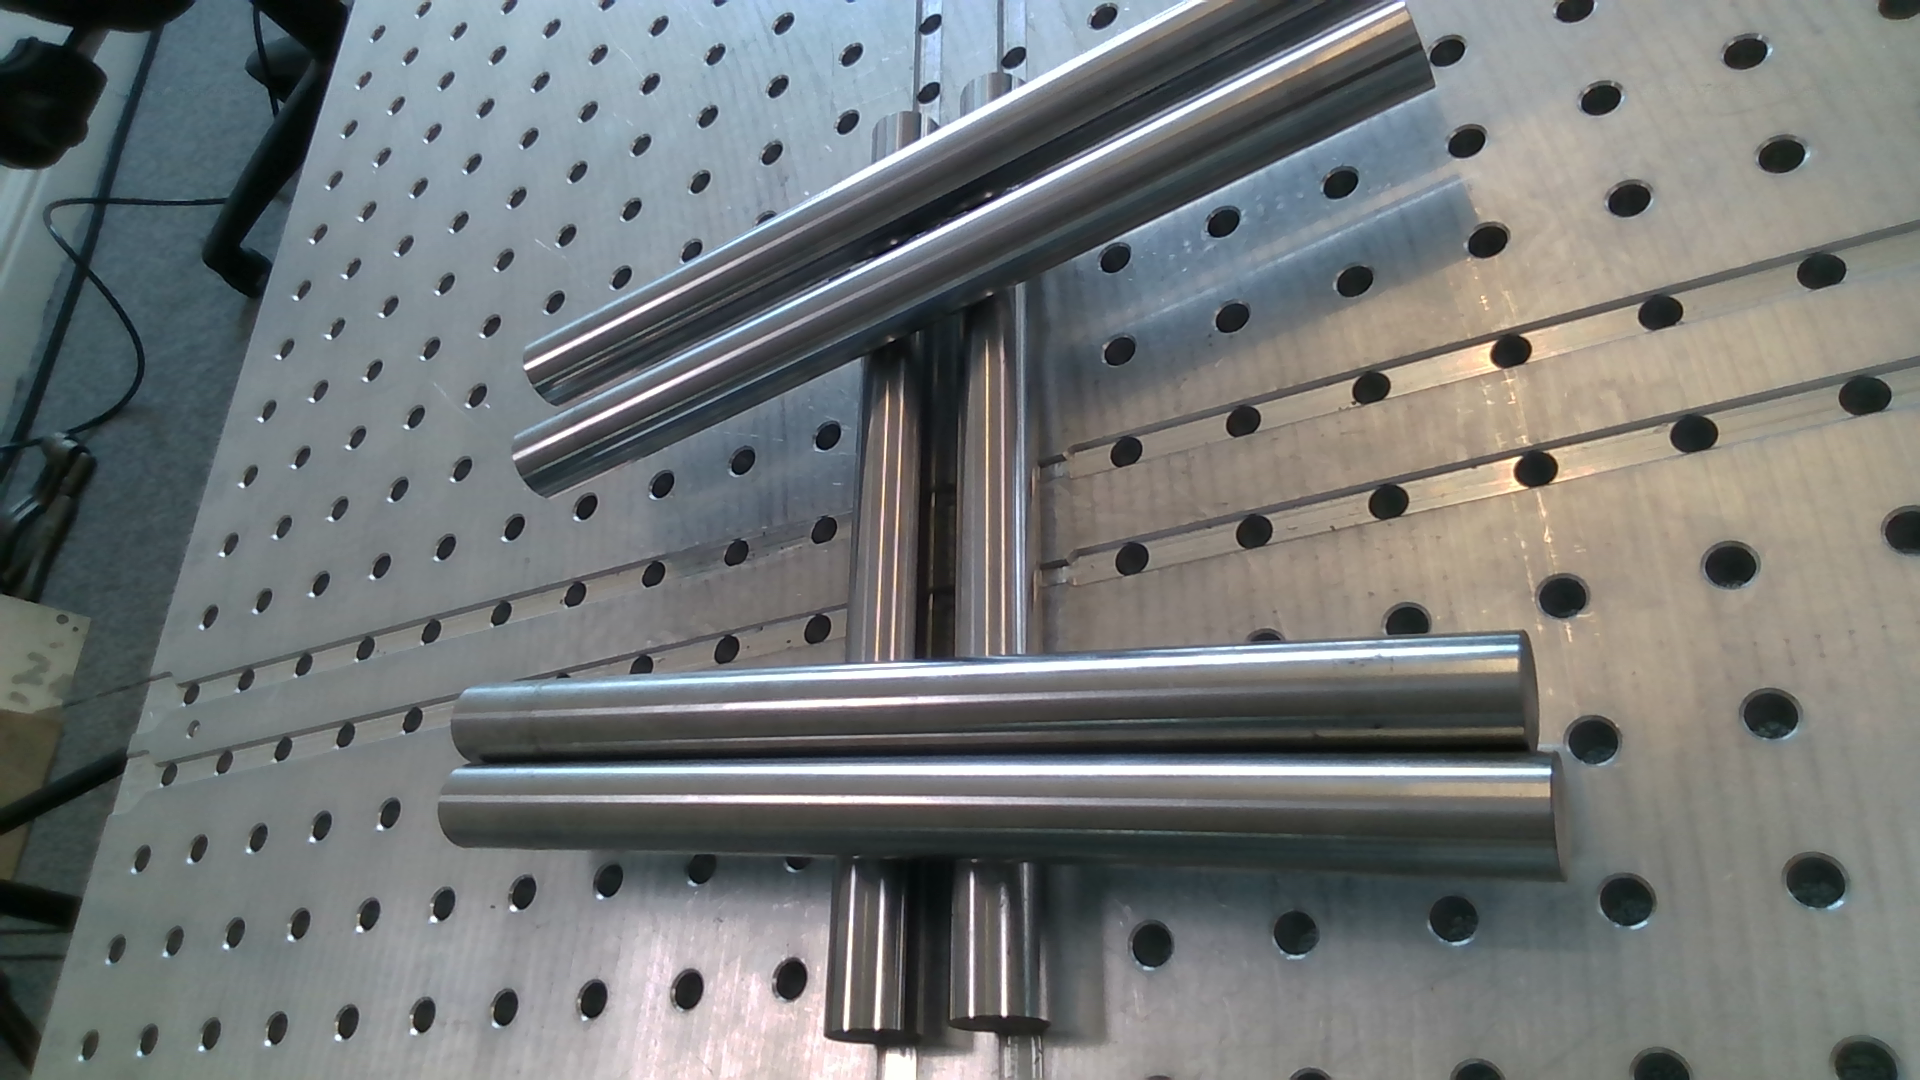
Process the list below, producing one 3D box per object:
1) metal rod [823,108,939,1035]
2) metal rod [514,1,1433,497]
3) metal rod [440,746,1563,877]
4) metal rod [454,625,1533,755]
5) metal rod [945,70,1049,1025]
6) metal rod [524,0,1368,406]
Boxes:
[{"bbox_3d":[-0.020,-0.010,0.414,0.025,0.025,0.299,-14,59,25],"label":"metal rod"},{"bbox_3d":[-0.011,-0.078,0.413,0.300,0.025,0.025,-22,56,21],"label":"metal rod"},{"bbox_3d":[-0.015,0.065,0.339,0.300,0.025,0.025,-6,63,29],"label":"metal rod"},{"bbox_3d":[-0.016,0.043,0.352,0.300,0.025,0.025,-6,63,29],"label":"metal rod"},{"bbox_3d":[0.011,-0.018,0.400,0.025,0.025,0.299,-14,59,25],"label":"metal rod"},{"bbox_3d":[-0.014,-0.111,0.432,0.300,0.025,0.025,-22,56,21],"label":"metal rod"}]
